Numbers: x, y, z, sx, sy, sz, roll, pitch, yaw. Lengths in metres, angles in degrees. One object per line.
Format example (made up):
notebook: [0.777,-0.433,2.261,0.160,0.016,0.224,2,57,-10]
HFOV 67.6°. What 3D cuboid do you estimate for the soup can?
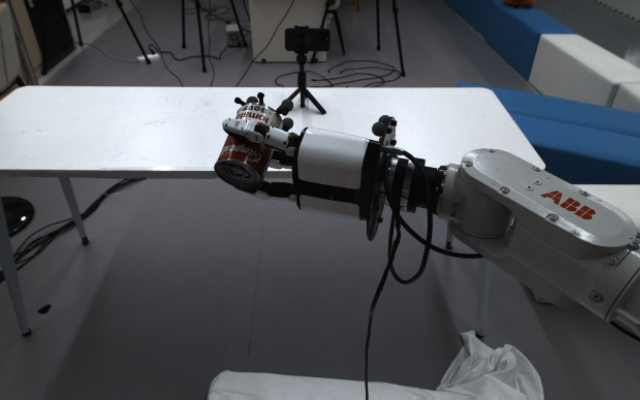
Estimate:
soup can: [-0.096,-0.074,0.664,0.067,0.067,0.101,9,60,10]
